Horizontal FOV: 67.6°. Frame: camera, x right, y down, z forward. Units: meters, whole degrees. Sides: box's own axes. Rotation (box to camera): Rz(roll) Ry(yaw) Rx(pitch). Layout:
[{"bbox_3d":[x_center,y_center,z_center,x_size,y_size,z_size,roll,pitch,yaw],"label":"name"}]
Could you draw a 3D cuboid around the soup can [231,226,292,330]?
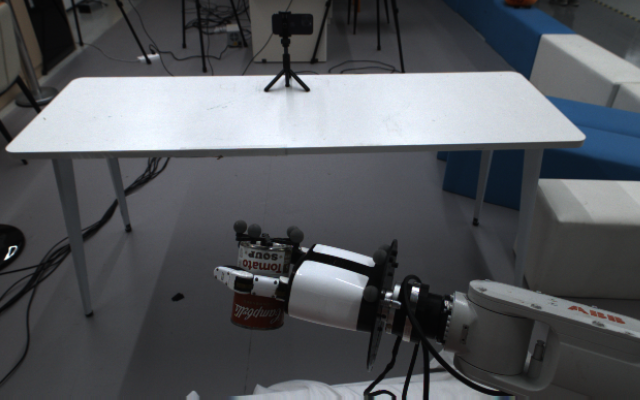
[{"bbox_3d":[-0.072,0.105,0.611,0.067,0.101,0.067,7,3,0],"label":"soup can"}]
